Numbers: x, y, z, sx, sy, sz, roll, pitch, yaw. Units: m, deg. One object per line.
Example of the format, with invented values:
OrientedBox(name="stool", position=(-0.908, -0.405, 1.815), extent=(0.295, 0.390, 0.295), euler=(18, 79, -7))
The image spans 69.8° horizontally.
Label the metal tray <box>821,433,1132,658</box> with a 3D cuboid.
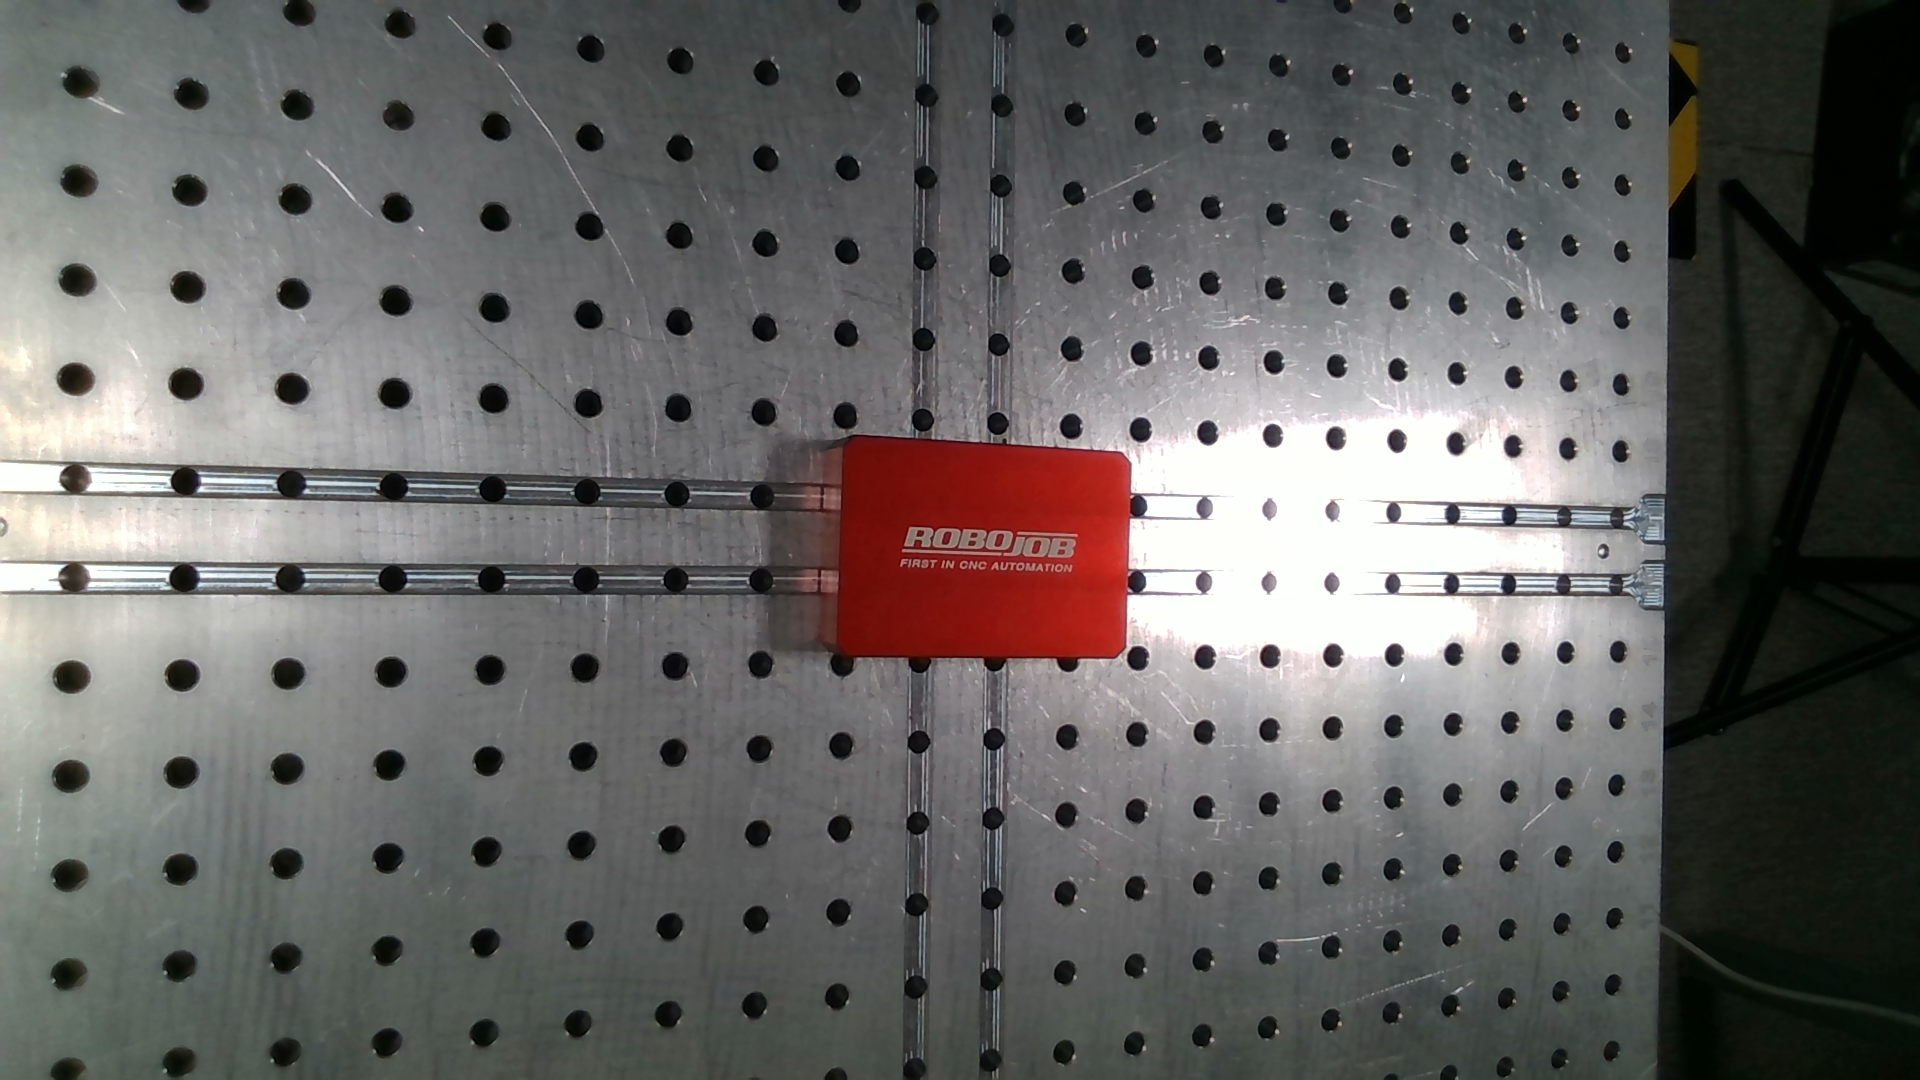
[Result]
OrientedBox(name="metal tray", position=(0.008, 0.004, 0.588), extent=(0.130, 0.030, 0.090), euler=(2, 89, -20))
